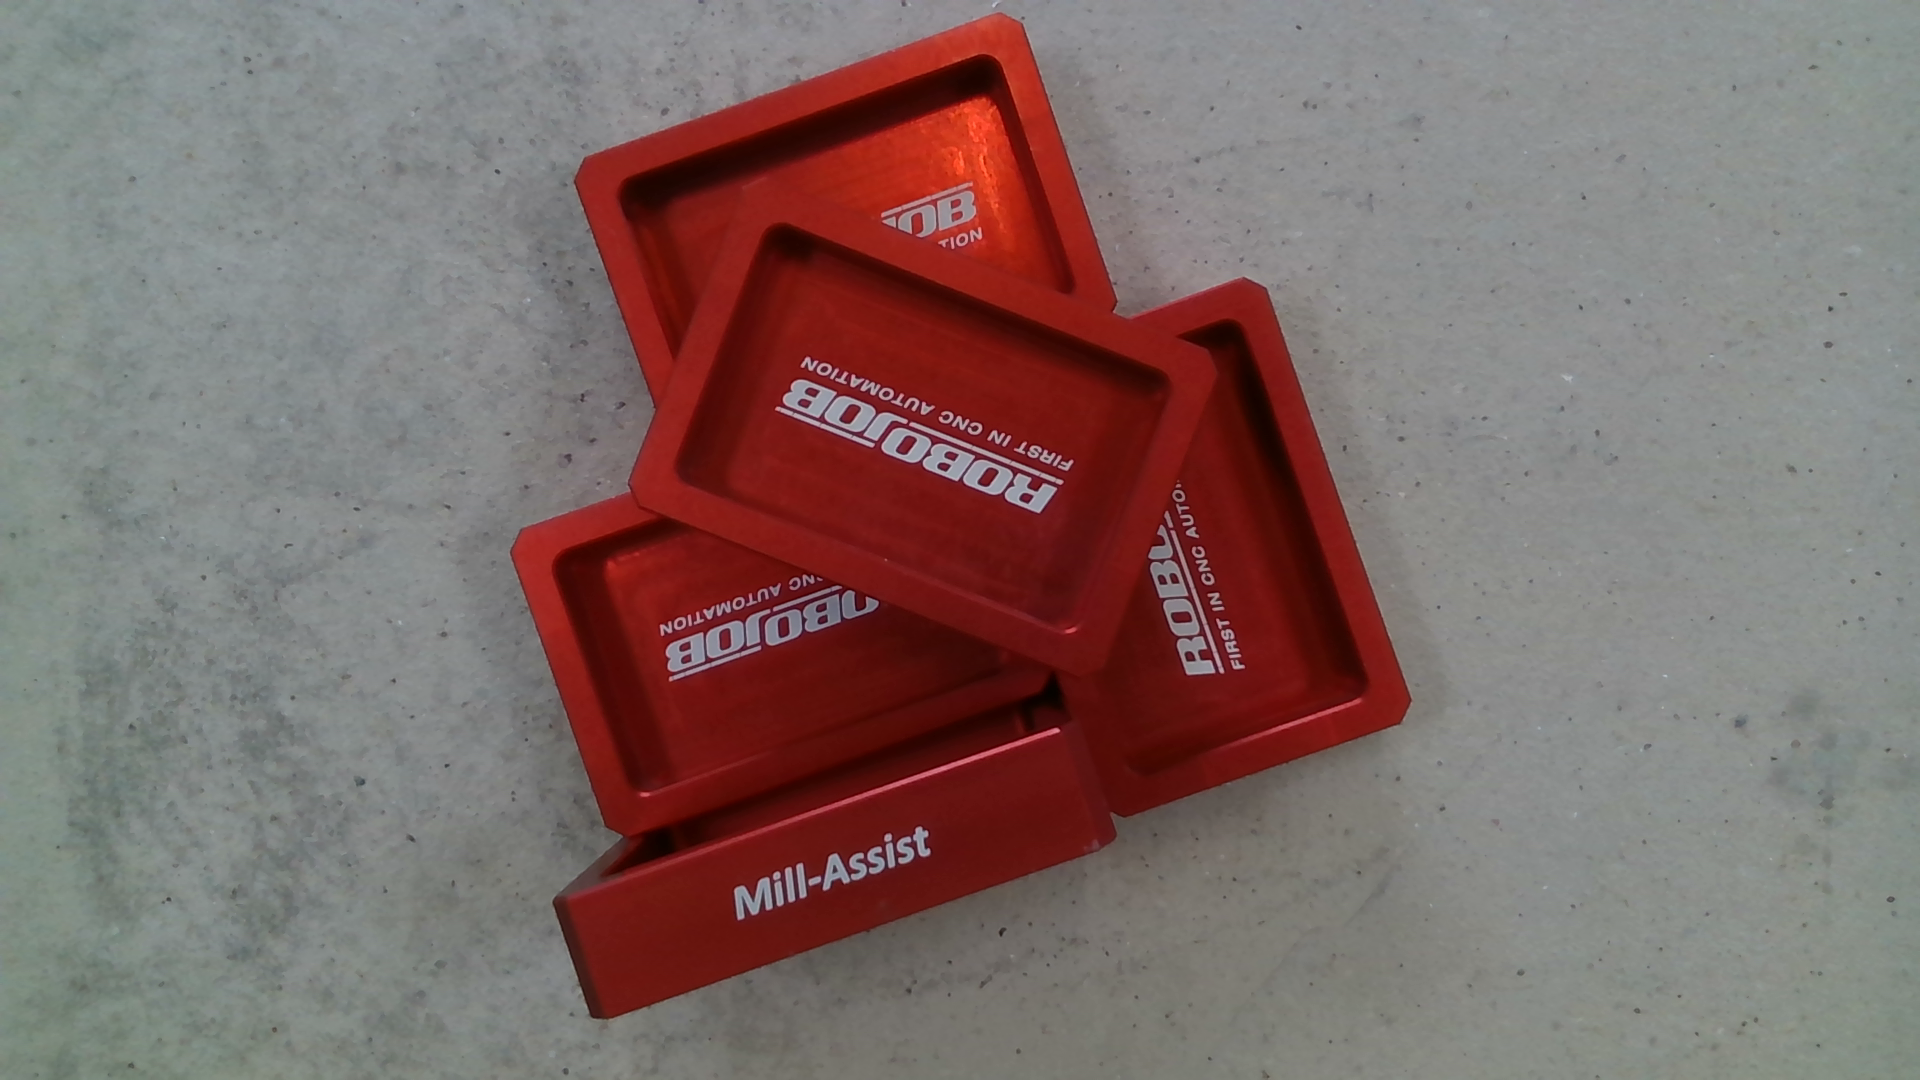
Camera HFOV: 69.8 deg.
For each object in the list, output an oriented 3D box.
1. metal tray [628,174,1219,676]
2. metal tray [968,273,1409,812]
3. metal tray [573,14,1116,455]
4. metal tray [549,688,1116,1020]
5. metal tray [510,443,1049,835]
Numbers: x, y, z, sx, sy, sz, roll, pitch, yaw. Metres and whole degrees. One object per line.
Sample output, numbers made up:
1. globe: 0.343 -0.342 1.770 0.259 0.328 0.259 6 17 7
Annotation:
1. metal tray: -0.009 -0.029 0.364 0.130 0.030 0.090 21 90 0
2. metal tray: 0.062 0.001 0.394 0.090 0.030 0.130 -19 90 0
3. metal tray: -0.032 -0.082 0.391 0.130 0.030 0.090 -19 90 0
4. metal tray: -0.030 0.078 0.361 0.130 0.090 0.030 -18 90 0
5. metal tray: -0.049 0.019 0.391 0.130 0.030 0.090 -19 89 1
